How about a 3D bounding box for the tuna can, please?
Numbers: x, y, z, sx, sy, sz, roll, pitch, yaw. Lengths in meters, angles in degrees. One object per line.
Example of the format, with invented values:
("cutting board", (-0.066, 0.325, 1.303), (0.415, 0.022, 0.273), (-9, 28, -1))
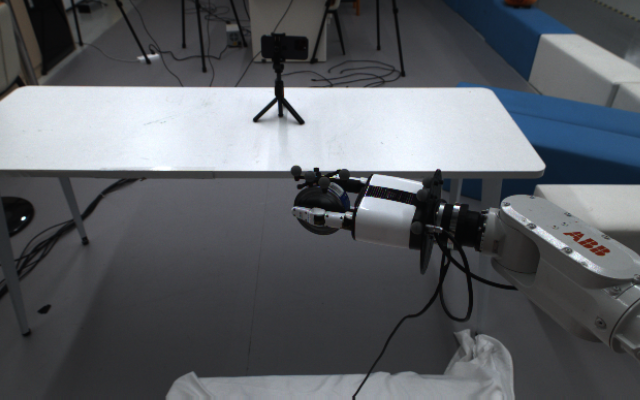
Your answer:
("tuna can", (0.005, 0.010, 0.769), (0.085, 0.085, 0.034), (14, 29, 16))
